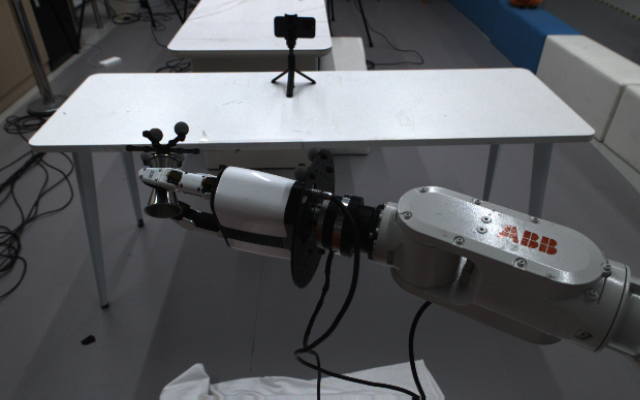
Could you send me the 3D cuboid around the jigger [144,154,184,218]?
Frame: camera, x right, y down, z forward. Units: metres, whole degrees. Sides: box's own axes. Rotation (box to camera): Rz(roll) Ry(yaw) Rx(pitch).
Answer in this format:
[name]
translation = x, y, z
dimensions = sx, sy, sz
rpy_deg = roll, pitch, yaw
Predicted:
[jigger]
translation = -0.191, -0.017, 0.595
dimensions = 0.043, 0.043, 0.071
rpy_deg = -5, 67, -10
